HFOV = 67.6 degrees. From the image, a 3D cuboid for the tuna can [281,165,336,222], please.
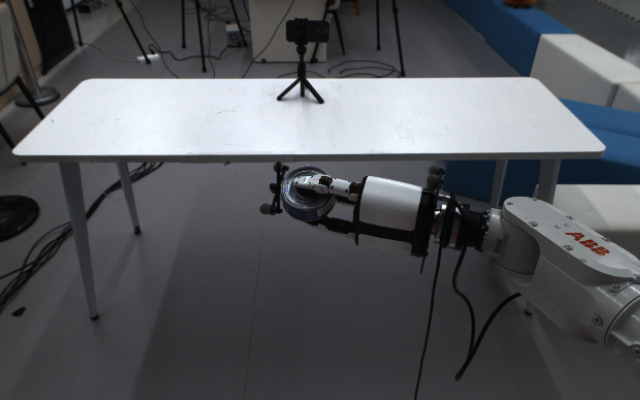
[{"bbox_3d":[-0.017,-0.012,0.752,0.085,0.034,0.085,-2,58,3],"label":"tuna can"}]
